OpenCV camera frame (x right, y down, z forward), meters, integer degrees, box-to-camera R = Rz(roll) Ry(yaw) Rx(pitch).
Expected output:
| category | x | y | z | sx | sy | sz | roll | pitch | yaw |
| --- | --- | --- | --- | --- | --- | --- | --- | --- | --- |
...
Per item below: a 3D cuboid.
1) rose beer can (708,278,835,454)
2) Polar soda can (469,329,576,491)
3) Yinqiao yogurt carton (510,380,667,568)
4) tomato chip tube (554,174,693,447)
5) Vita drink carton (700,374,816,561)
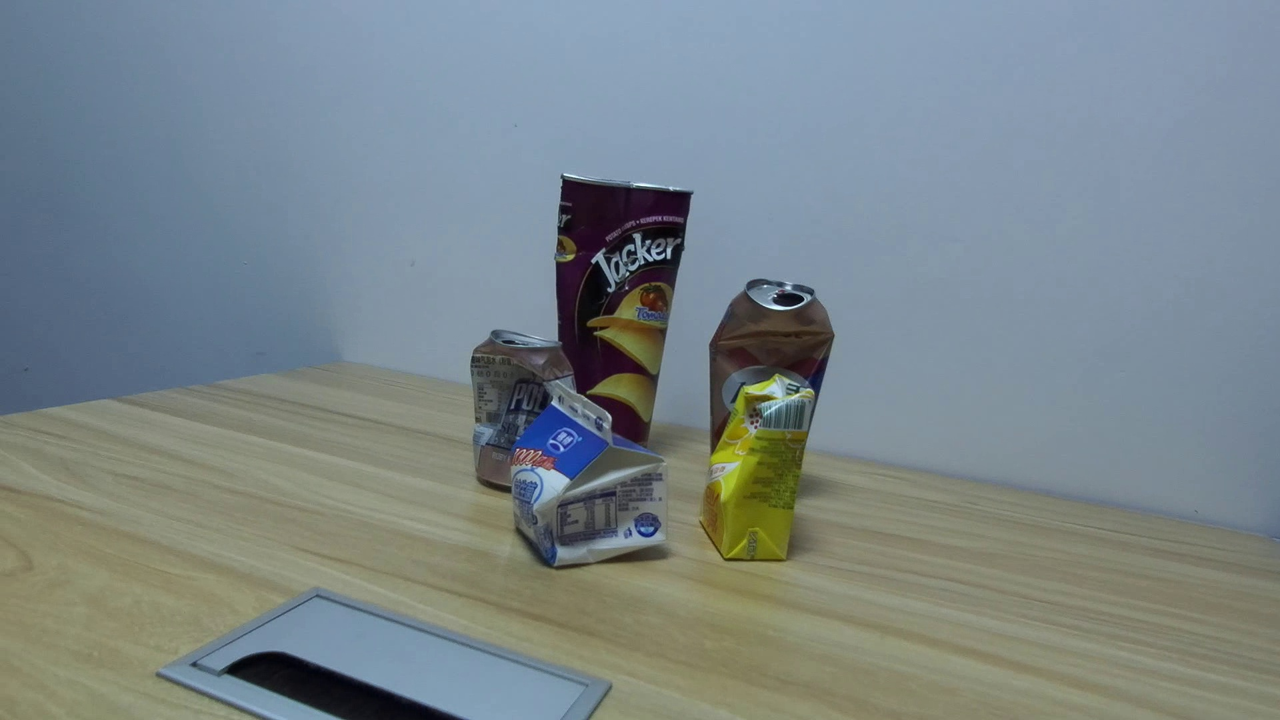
| category | x | y | z | sx | sy | sz | roll | pitch | yaw |
| --- | --- | --- | --- | --- | --- | --- | --- | --- | --- |
| rose beer can | 0.097 | 0.024 | 0.545 | 0.069 | 0.168 | 0.069 | -5 | 20 | -32 |
| Polar soda can | -0.086 | 0.037 | 0.528 | 0.074 | 0.114 | 0.070 | -3 | 21 | -24 |
| Yinqiao yogurt carton | -0.035 | 0.066 | 0.423 | 0.080 | 0.097 | 0.074 | -9 | 16 | -30 |
| tomato chip tube | -0.022 | -0.031 | 0.593 | 0.090 | 0.235 | 0.078 | 11 | 12 | 18 |
| Vita drink carton | 0.072 | 0.065 | 0.455 | 0.046 | 0.109 | 0.071 | 6 | 8 | -11 |
